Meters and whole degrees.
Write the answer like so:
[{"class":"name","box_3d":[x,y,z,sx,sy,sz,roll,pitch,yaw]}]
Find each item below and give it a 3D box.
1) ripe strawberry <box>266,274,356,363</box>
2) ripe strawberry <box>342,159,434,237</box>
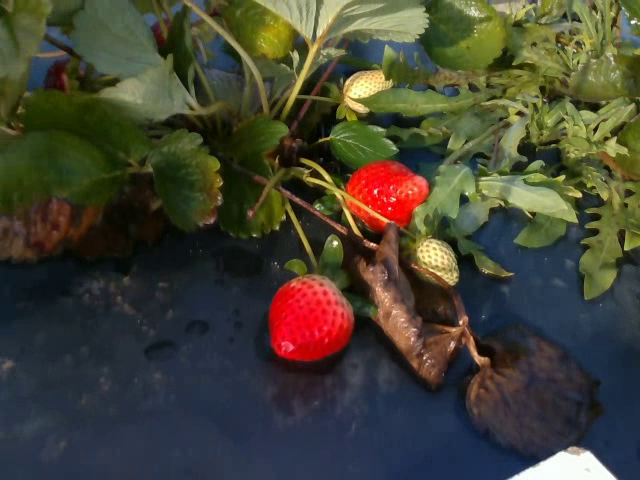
[{"class":"ripe strawberry","box_3d":[-0.006,0.029,0.230,0.035,0.029,0.043,17,39,17]},{"class":"ripe strawberry","box_3d":[0.033,-0.025,0.291,0.040,0.031,0.049,-30,7,-32]}]
